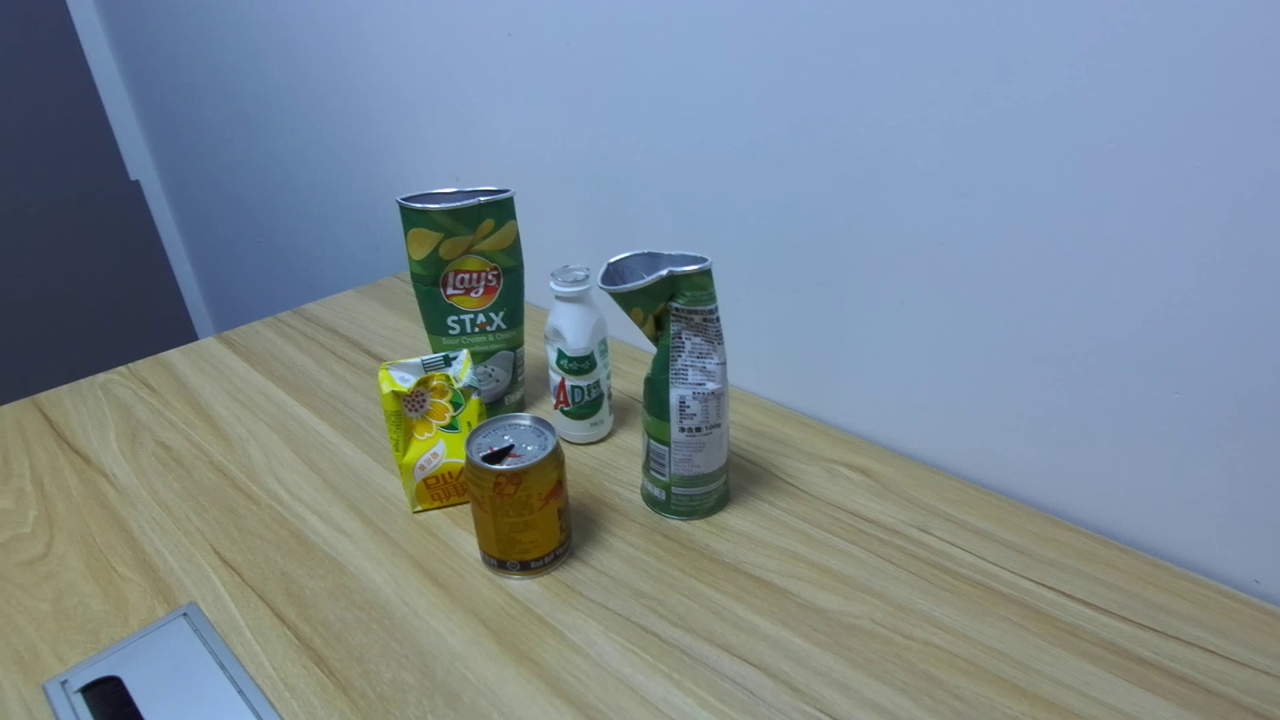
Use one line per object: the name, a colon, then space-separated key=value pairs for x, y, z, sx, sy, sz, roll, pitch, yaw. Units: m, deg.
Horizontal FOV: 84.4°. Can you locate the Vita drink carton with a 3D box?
Vita drink carton: x=-0.151 y=0.055 z=0.533 sx=0.071 sy=0.110 sz=0.046 roll=-10 pitch=28 yaw=-15

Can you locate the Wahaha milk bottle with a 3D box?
Wahaha milk bottle: x=-0.052 y=-0.003 z=0.584 sx=0.055 sy=0.149 sz=0.055 roll=-2 pitch=32 yaw=2

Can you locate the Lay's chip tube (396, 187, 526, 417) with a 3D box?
Lay's chip tube: x=-0.143 y=-0.044 z=0.611 sx=0.068 sy=0.200 sz=0.075 roll=22 pitch=38 yaw=34

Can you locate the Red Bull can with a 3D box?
Red Bull can: x=-0.081 y=0.091 z=0.480 sx=0.067 sy=0.093 sz=0.067 roll=-1 pitch=30 yaw=1

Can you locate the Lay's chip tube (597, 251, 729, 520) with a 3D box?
Lay's chip tube: x=0.023 y=0.019 z=0.498 sx=0.071 sy=0.200 sz=0.079 roll=-15 pitch=29 yaw=-7
